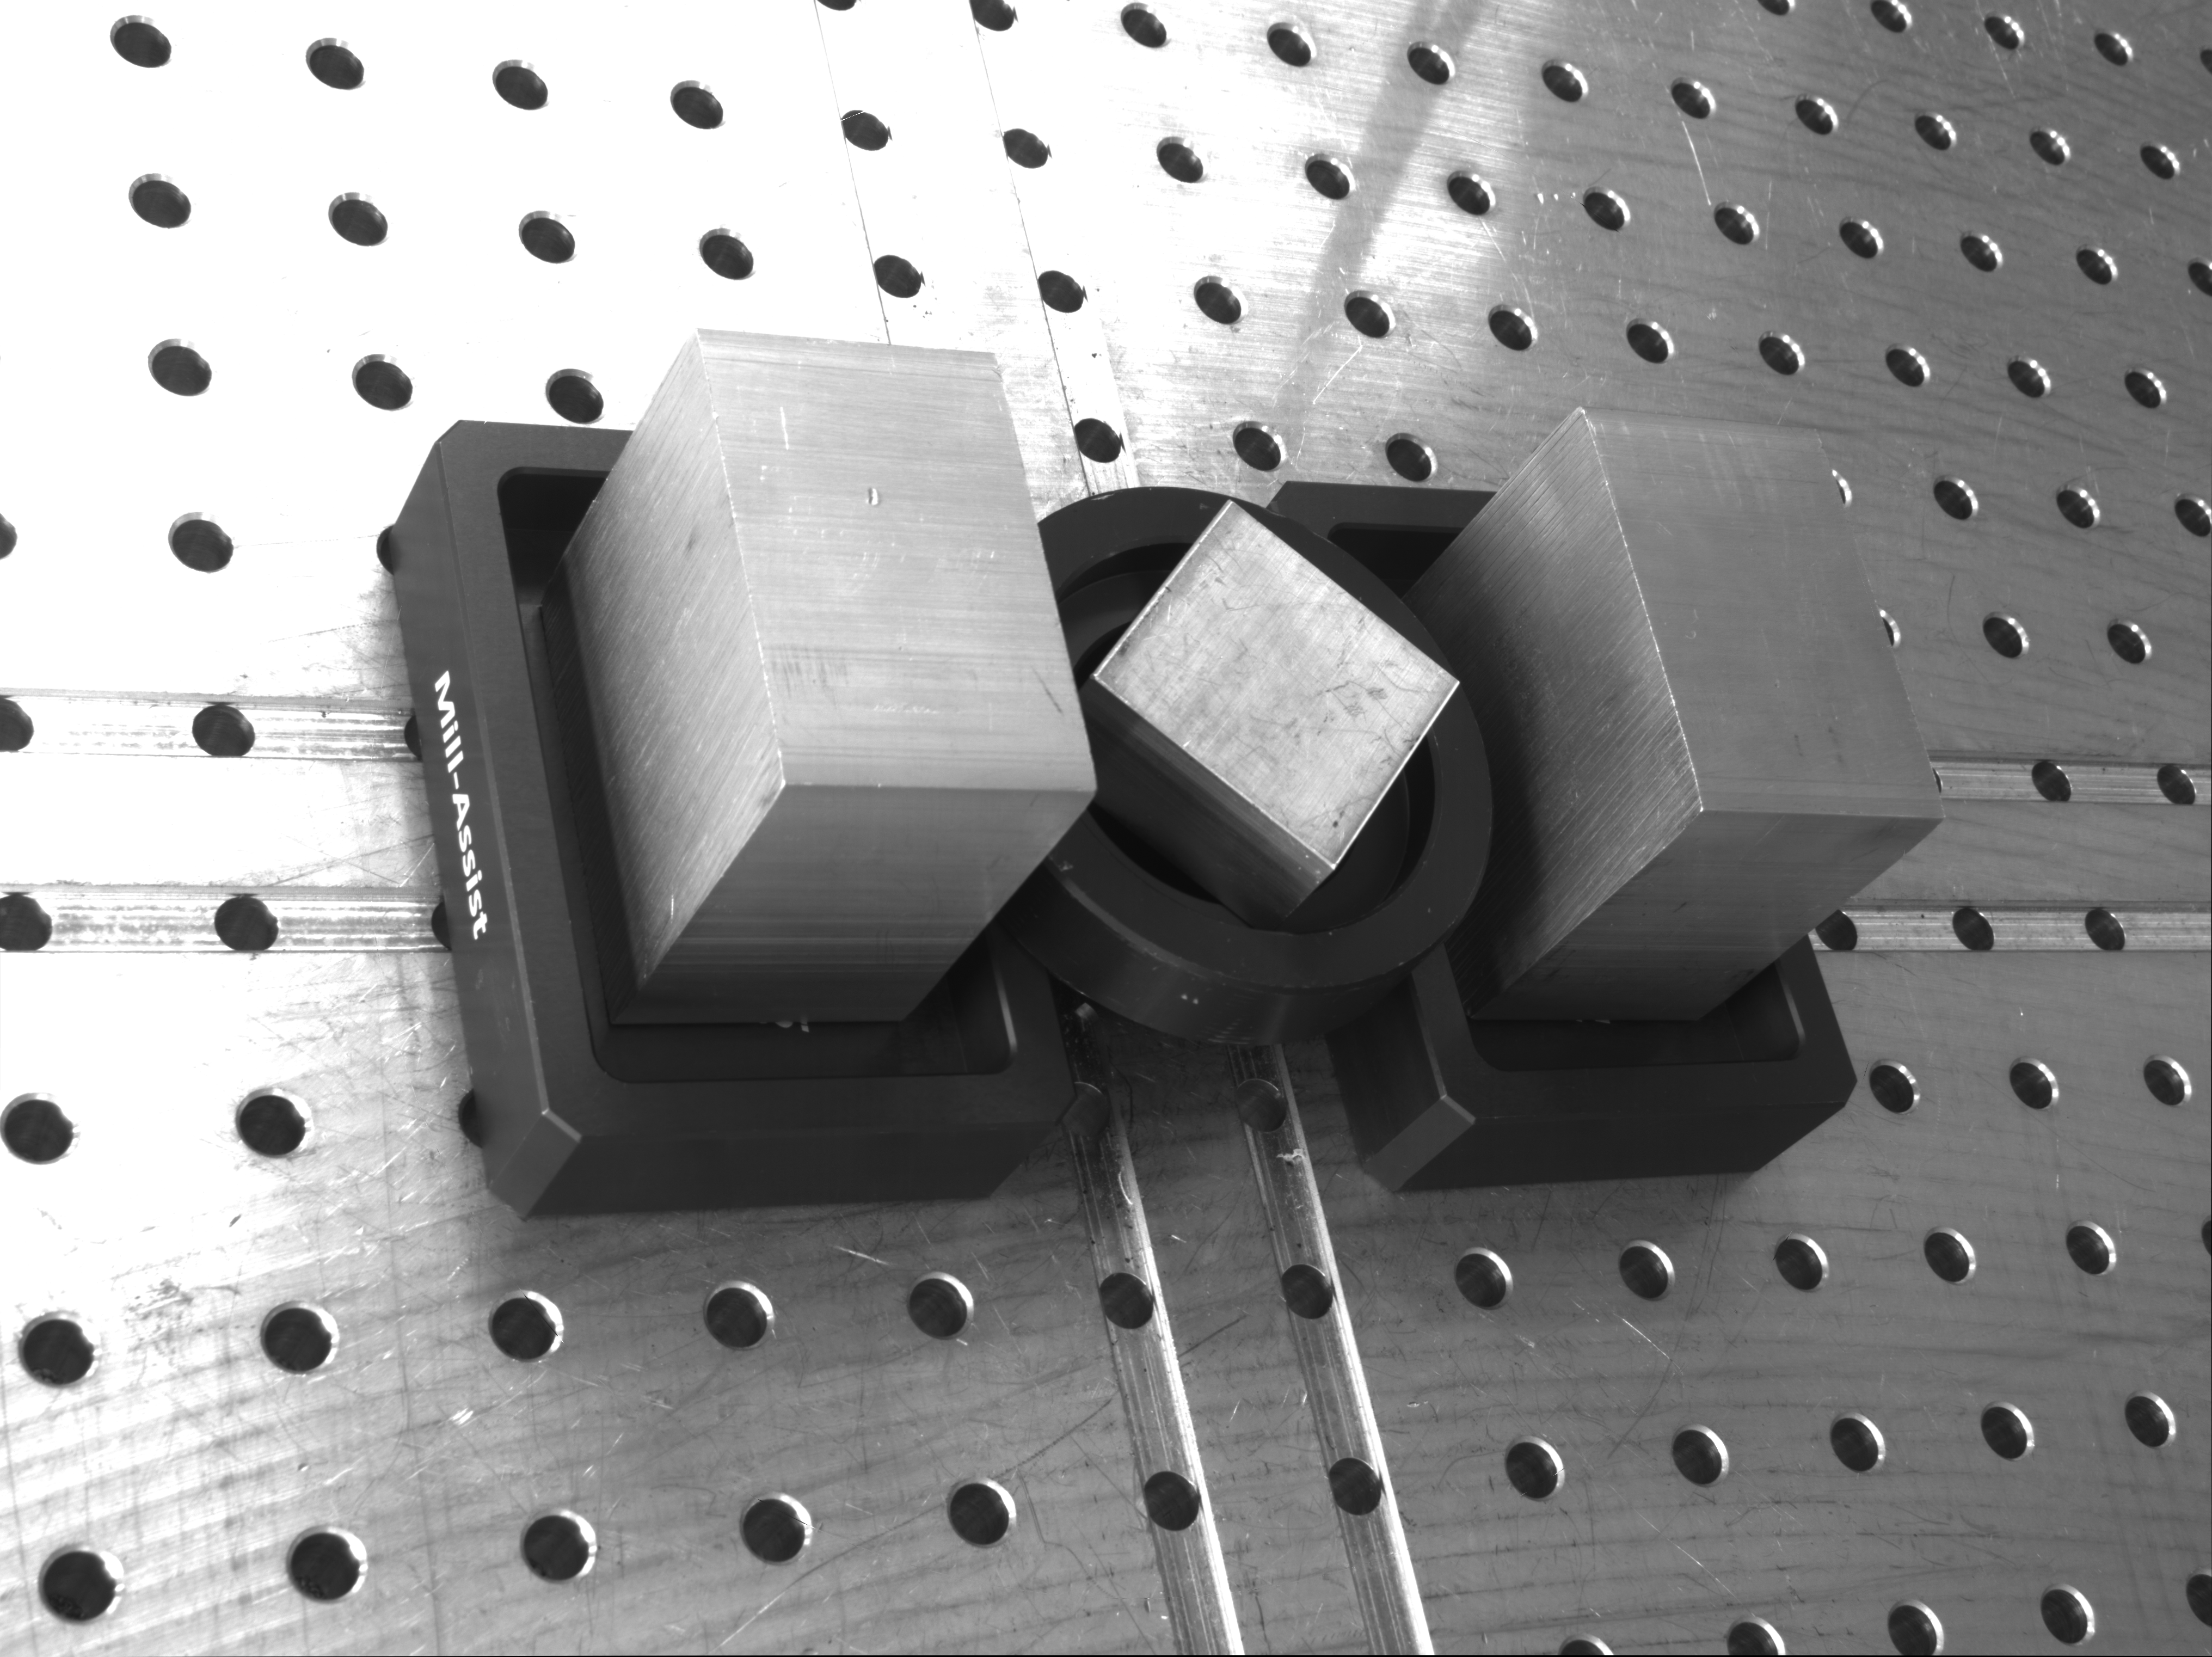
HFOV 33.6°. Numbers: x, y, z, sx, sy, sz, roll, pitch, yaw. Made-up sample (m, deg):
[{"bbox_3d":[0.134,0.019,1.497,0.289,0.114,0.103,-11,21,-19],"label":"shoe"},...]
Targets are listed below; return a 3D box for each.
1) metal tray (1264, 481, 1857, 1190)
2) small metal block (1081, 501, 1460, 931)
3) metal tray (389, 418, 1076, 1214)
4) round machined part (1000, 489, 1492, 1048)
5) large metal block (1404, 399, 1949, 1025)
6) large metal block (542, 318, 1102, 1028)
[{"bbox_3d":[0.077,0.000,0.679,0.090,0.030,0.130,0,61,-28],"label":"metal tray"},{"bbox_3d":[0.024,-0.018,0.613,0.050,0.025,0.050,38,51,-2],"label":"small metal block"},{"bbox_3d":[-0.063,-0.003,0.606,0.090,0.030,0.130,1,61,-28],"label":"metal tray"},{"bbox_3d":[0.014,-0.006,0.631,0.098,0.042,0.098,14,56,-21],"label":"round machined part"},{"bbox_3d":[0.095,-0.019,0.651,0.050,0.080,0.080,2,61,-27],"label":"large metal block"},{"bbox_3d":[-0.048,-0.022,0.578,0.050,0.080,0.080,1,61,-27],"label":"large metal block"}]
